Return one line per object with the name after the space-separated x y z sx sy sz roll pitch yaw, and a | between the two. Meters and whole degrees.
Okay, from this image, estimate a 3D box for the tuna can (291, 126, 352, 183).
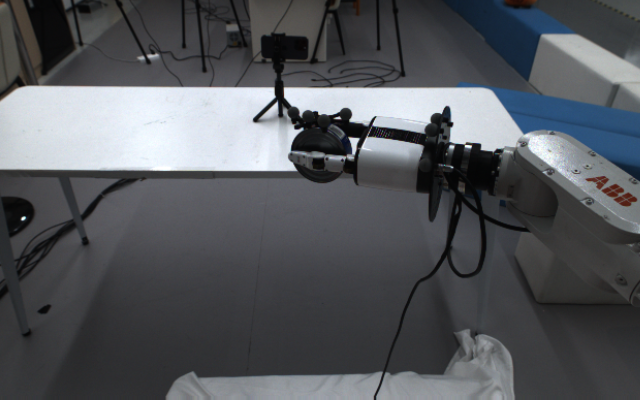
0.003 -0.071 0.711 0.085 0.085 0.034 14 29 16 | tuna can
